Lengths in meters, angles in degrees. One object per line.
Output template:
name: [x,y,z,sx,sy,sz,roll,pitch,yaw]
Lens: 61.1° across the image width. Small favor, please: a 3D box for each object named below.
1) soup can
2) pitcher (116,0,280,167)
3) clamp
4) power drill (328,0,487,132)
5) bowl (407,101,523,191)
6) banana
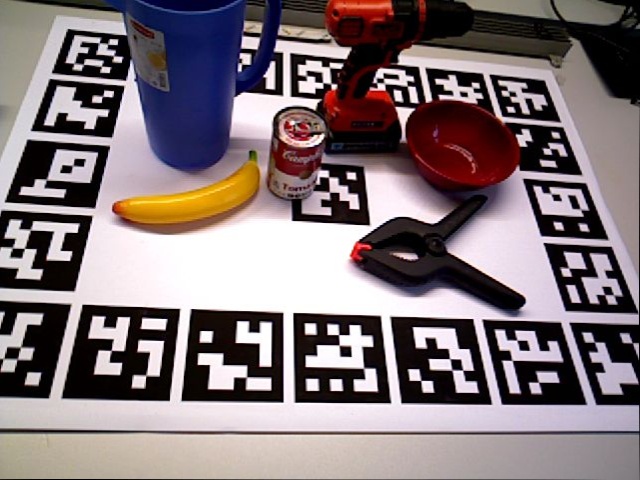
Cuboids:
soup can: [-0.028,-0.110,0.661,0.067,0.104,0.067,5,48,-6]
pitcher: [-0.138,-0.206,0.617,0.185,0.248,0.132,-19,59,-22]
clamp: [0.140,0.010,0.642,0.201,0.037,0.163,0,61,-10]
power drill: [0.092,-0.221,0.677,0.182,0.191,0.056,-1,57,-12]
bowl: [0.189,-0.120,0.732,0.160,0.056,0.159,4,58,-7]
banana: [-0.152,-0.054,0.644,0.194,0.040,0.074,-20,54,-23]
